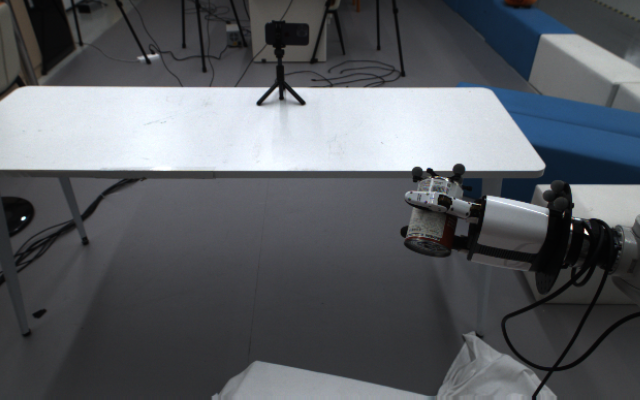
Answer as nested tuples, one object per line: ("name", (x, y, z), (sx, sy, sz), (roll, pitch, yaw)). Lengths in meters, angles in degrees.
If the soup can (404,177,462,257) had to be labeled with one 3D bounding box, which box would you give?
("soup can", (0.167, 0.023, 0.707), (0.067, 0.067, 0.101), (12, 69, 14))
